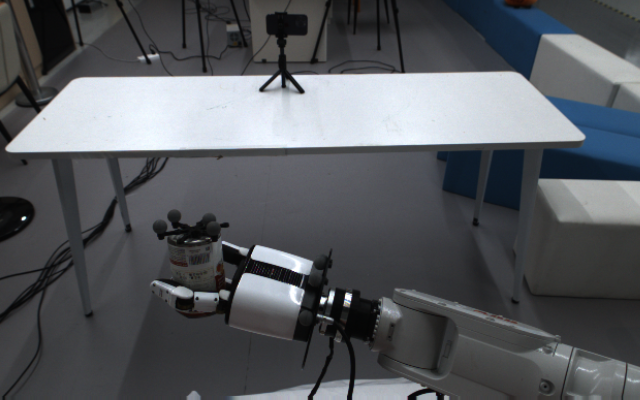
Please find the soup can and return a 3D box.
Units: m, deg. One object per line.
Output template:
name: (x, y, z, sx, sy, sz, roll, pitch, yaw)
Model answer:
soup can: (-0.156, 0.092, 0.622, 0.067, 0.101, 0.067, -1, 16, 0)
